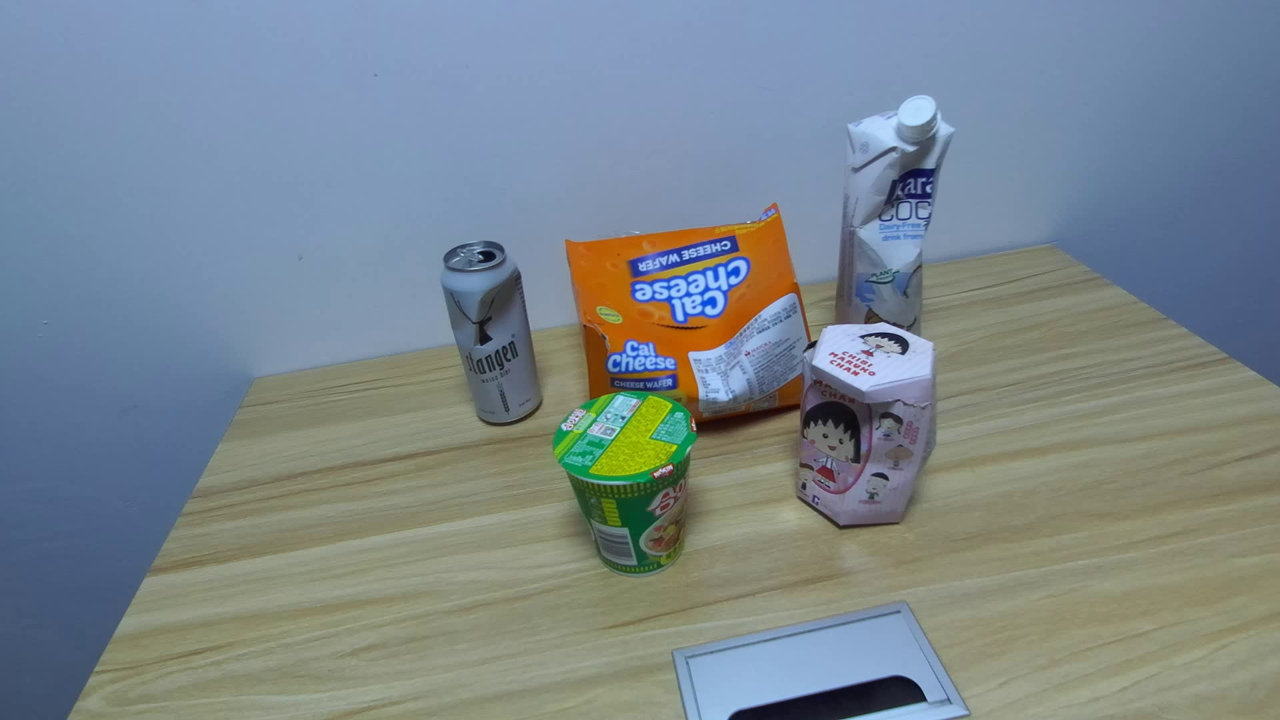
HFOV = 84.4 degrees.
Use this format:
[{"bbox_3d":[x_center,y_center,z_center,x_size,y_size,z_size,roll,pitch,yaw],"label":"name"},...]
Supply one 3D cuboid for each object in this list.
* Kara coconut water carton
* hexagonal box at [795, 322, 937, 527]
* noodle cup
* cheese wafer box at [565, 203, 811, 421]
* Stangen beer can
[{"bbox_3d":[0.225,-0.113,0.646,0.083,0.256,0.078,-9,35,-4],"label":"Kara coconut water carton"},{"bbox_3d":[0.166,0.048,0.527,0.090,0.135,0.091,-1,33,3],"label":"hexagonal box"},{"bbox_3d":[-0.006,0.095,0.508,0.097,0.110,0.097,-4,33,3],"label":"noodle cup"},{"bbox_3d":[0.051,-0.033,0.657,0.219,0.145,0.190,-9,33,-4],"label":"cheese wafer box"},{"bbox_3d":[-0.136,-0.023,0.656,0.070,0.173,0.069,-9,33,-3],"label":"Stangen beer can"}]
